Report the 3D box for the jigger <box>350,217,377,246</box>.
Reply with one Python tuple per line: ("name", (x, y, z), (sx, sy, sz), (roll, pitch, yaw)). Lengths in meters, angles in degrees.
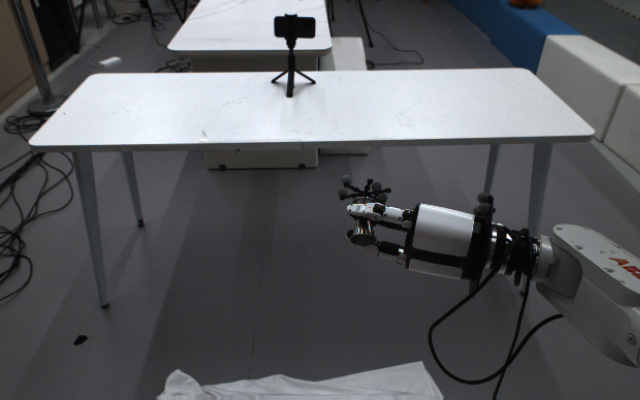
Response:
("jigger", (0.069, 0.030, 0.773), (0.043, 0.043, 0.071), (4, 60, 2))
